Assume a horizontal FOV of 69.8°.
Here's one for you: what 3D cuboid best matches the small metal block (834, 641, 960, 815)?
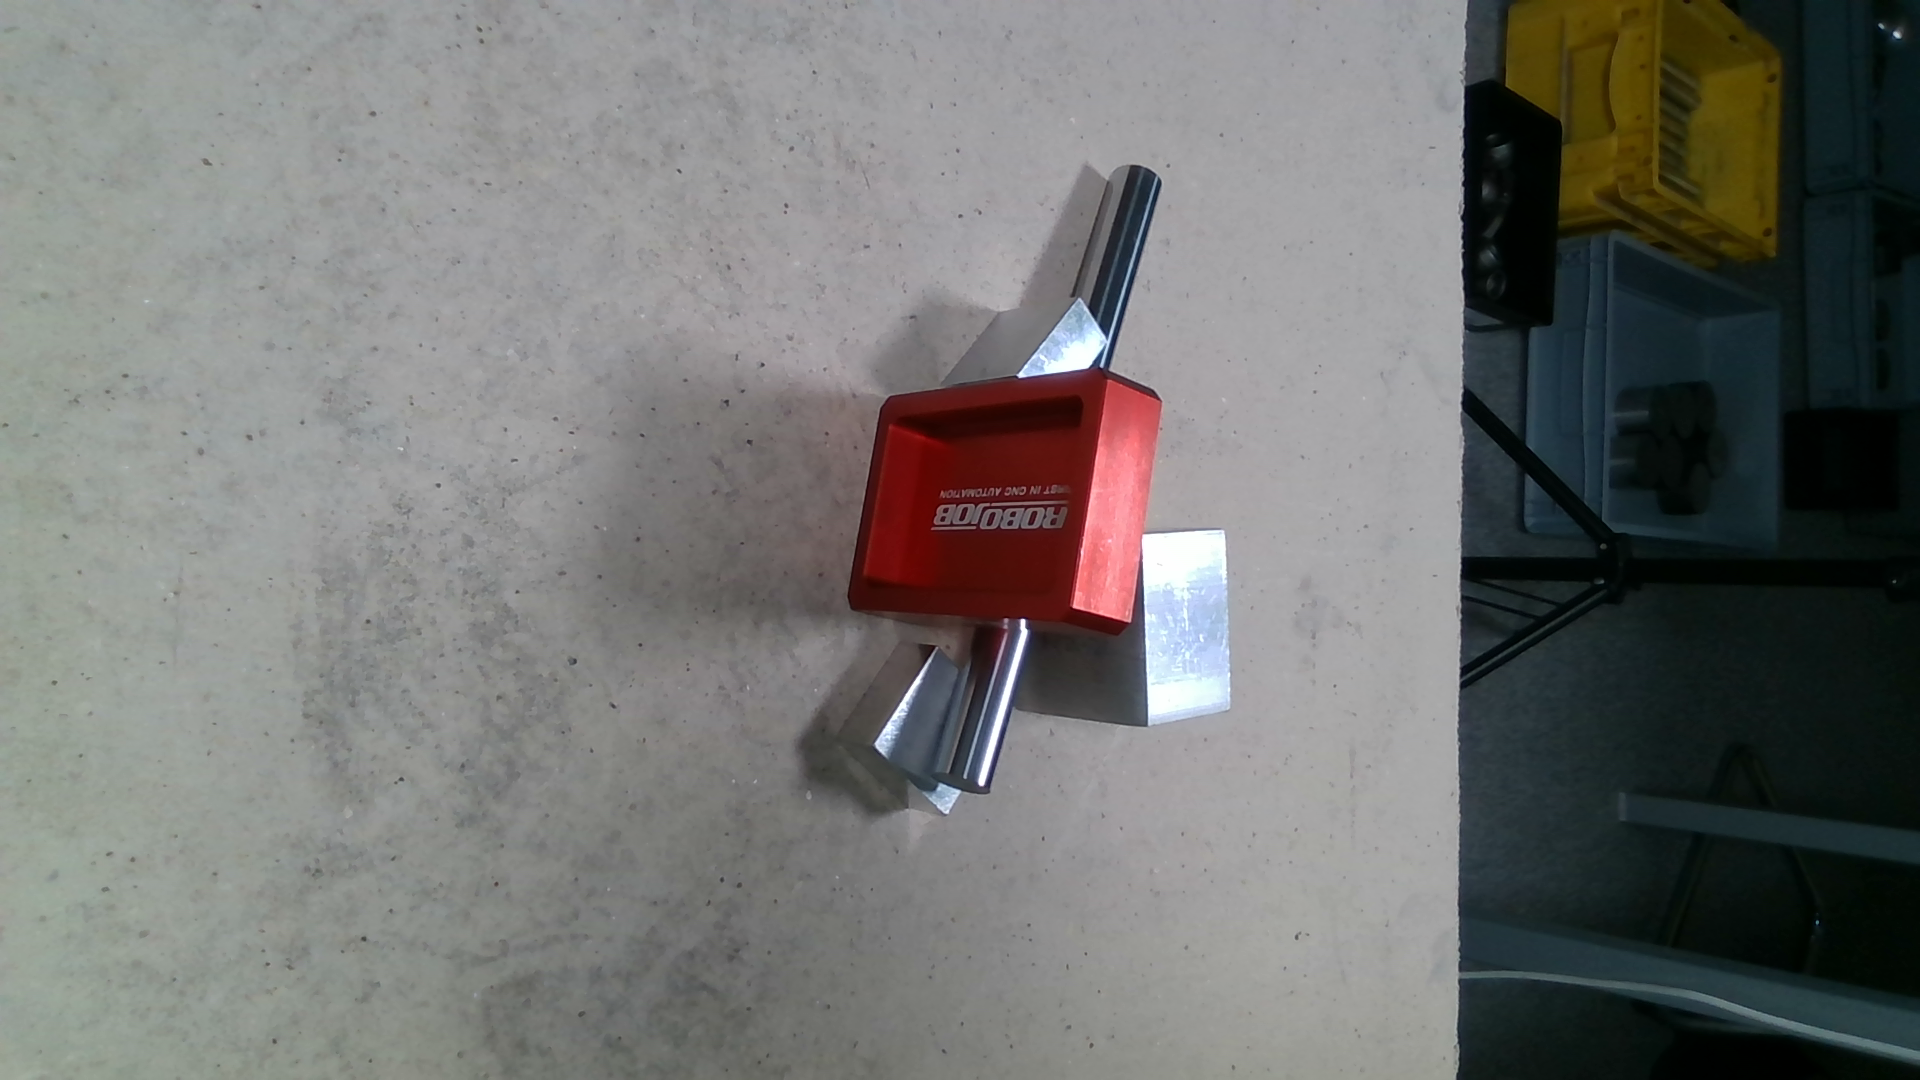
[{"bbox_3d":[-0.016,0.077,0.571,0.050,0.025,0.050,49,61,-29],"label":"small metal block"}]

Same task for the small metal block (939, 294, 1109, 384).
[{"bbox_3d":[0.027,-0.076,0.589,0.025,0.050,0.050,52,59,-27],"label":"small metal block"}]

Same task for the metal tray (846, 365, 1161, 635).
[{"bbox_3d":[0.013,-0.013,0.526,0.030,0.130,0.090,16,80,-39],"label":"metal tray"}]

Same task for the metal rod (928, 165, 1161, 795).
[{"bbox_3d":[0.041,-0.036,0.600,0.025,0.025,0.299,33,64,-35],"label":"metal rod"}]

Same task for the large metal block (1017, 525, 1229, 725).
[{"bbox_3d":[0.069,0.034,0.604,0.050,0.080,0.080,-3,92,-40],"label":"large metal block"}]
